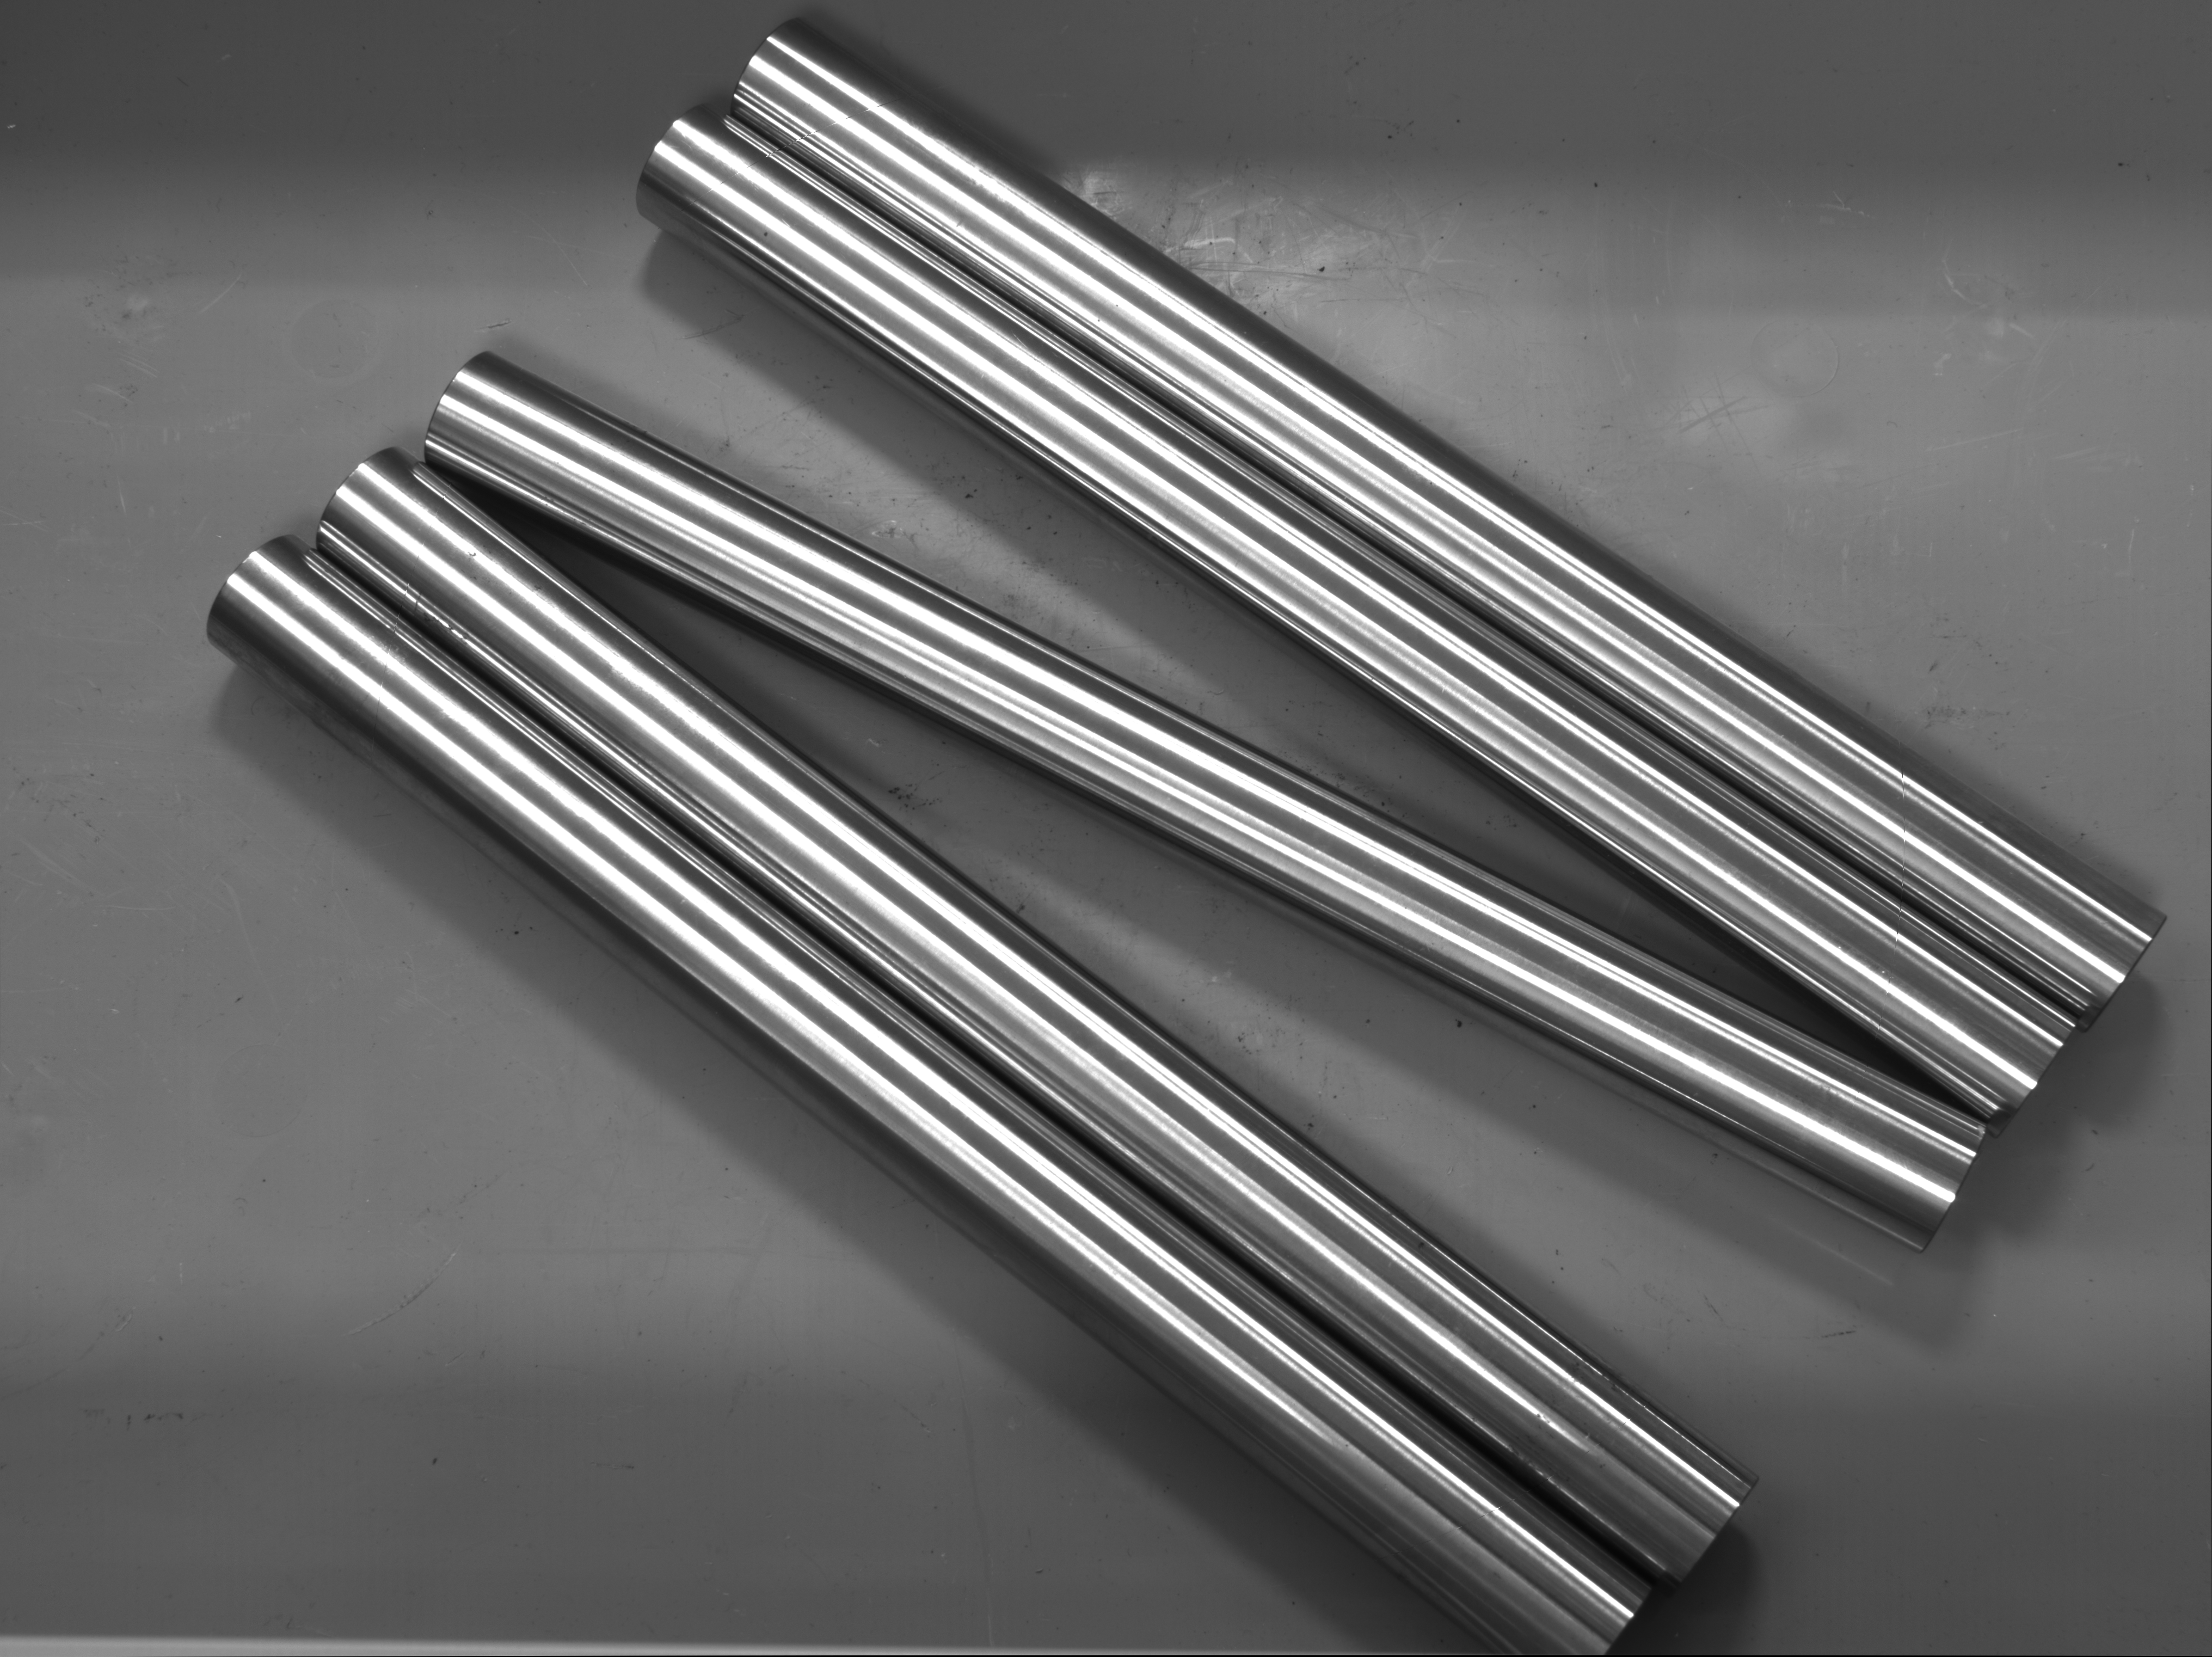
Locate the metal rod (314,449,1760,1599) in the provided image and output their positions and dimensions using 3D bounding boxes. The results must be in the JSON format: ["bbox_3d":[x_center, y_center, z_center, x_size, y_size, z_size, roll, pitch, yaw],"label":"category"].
[{"bbox_3d":[-0.017,0.029,0.633,0.300,0.025,0.025,37,74,12],"label":"metal rod"}]

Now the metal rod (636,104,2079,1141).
[{"bbox_3d":[0.040,-0.041,0.659,0.300,0.025,0.025,35,74,12],"label":"metal rod"}]

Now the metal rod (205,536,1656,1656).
[{"bbox_3d":[-0.035,0.045,0.627,0.300,0.025,0.025,37,74,12],"label":"metal rod"}]

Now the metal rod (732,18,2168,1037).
[{"bbox_3d":[0.057,-0.059,0.665,0.300,0.025,0.025,35,74,12],"label":"metal rod"}]

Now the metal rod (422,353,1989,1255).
[{"bbox_3d":[0.013,-0.007,0.647,0.300,0.025,0.025,28,72,10],"label":"metal rod"}]
